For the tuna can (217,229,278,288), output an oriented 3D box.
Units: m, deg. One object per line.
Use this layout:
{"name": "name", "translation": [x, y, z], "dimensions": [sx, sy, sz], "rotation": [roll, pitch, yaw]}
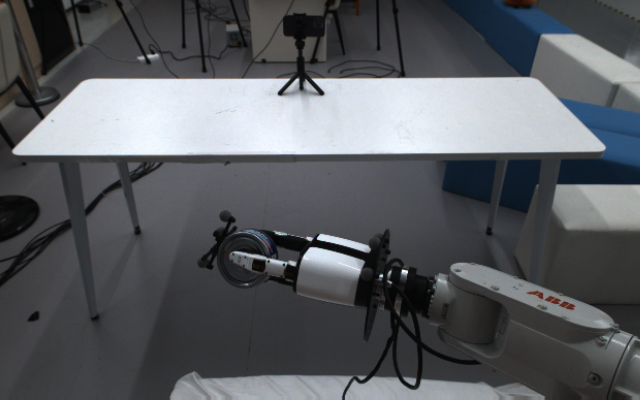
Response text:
{"name": "tuna can", "translation": [-0.105, 0.090, 0.708], "dimensions": [0.085, 0.085, 0.034], "rotation": [10, 5, 11]}
